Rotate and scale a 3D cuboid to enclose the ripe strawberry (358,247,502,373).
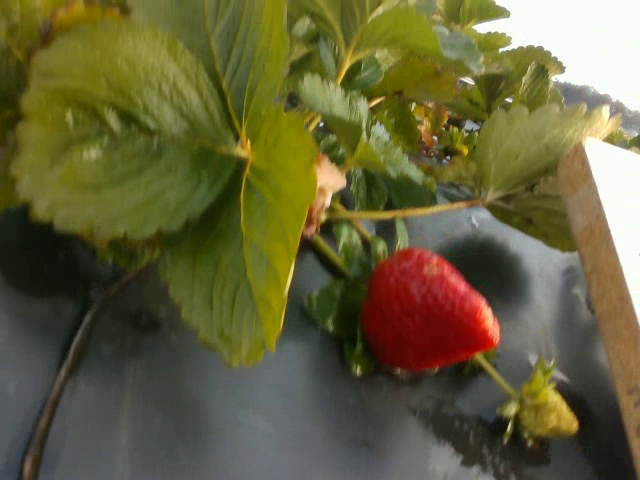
[{"bbox_3d":[0.046,0.028,0.240,0.043,0.052,0.057,-16,10,-31],"label":"ripe strawberry"}]
